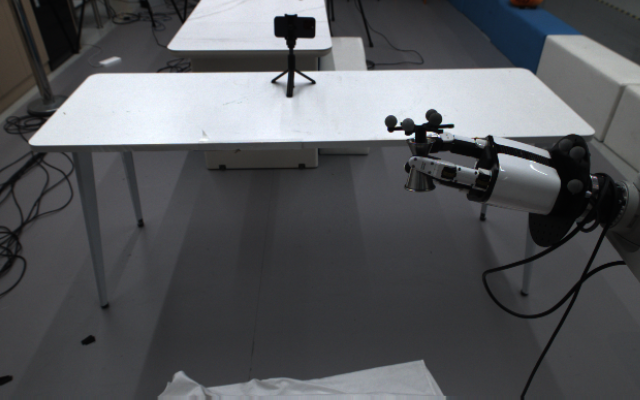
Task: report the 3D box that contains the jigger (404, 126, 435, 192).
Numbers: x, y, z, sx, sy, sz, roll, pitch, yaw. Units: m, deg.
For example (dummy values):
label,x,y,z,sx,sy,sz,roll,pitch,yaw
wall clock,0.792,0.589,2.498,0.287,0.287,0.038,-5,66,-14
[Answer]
label,x,y,z,sx,sy,sz,roll,pitch,yaw
jigger,0.139,-0.050,0.674,0.043,0.071,0.043,-3,19,1
